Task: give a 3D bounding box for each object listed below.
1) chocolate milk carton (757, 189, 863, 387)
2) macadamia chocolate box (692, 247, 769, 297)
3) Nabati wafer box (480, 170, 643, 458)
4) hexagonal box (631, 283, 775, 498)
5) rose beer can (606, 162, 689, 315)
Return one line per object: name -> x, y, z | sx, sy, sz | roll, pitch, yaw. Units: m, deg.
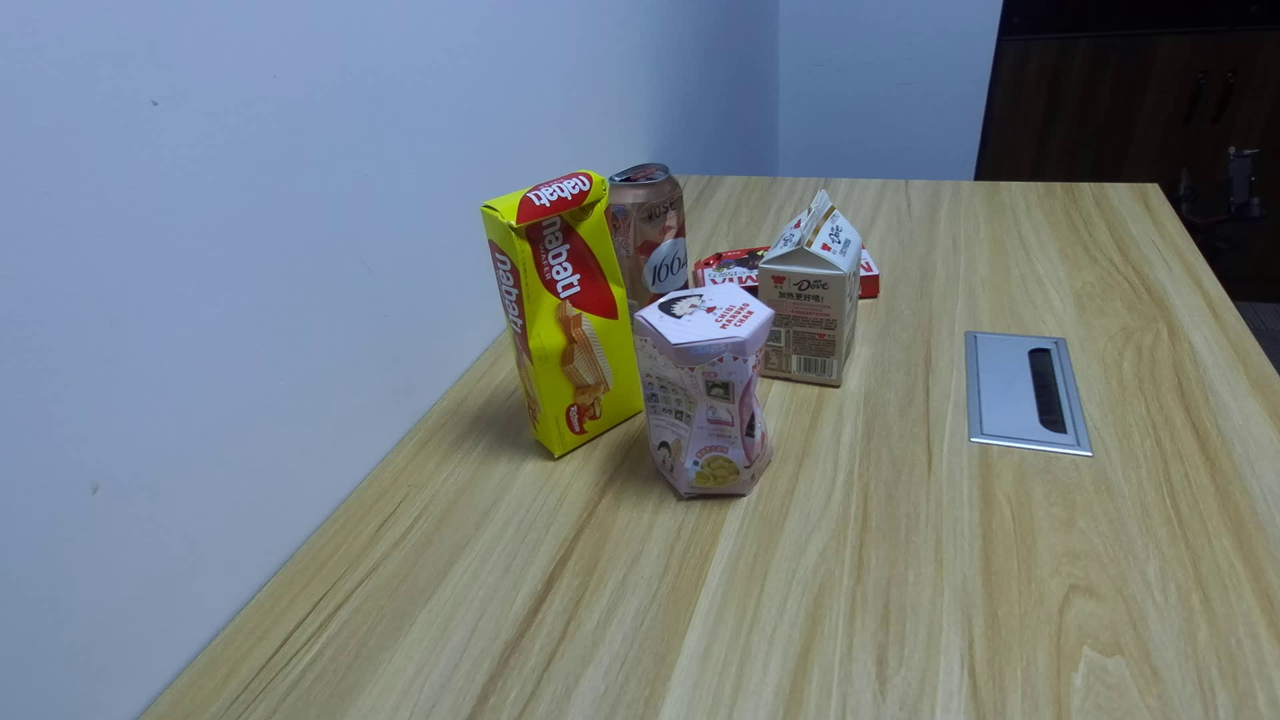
chocolate milk carton -> 0.144, -0.062, 0.594 | 0.074, 0.148, 0.075 | 9, 35, 23
macadamia chocolate box -> 0.156, -0.096, 0.770 | 0.186, 0.027, 0.102 | -3, 32, 5
Nabati wafer box -> -0.052, -0.030, 0.540 | 0.097, 0.204, 0.042 | -25, 34, -29
hexagonal box -> 0.048, 0.025, 0.495 | 0.093, 0.135, 0.088 | -7, 32, -1
rose beer can -> 0.009, -0.092, 0.654 | 0.076, 0.167, 0.065 | -29, 36, -27
